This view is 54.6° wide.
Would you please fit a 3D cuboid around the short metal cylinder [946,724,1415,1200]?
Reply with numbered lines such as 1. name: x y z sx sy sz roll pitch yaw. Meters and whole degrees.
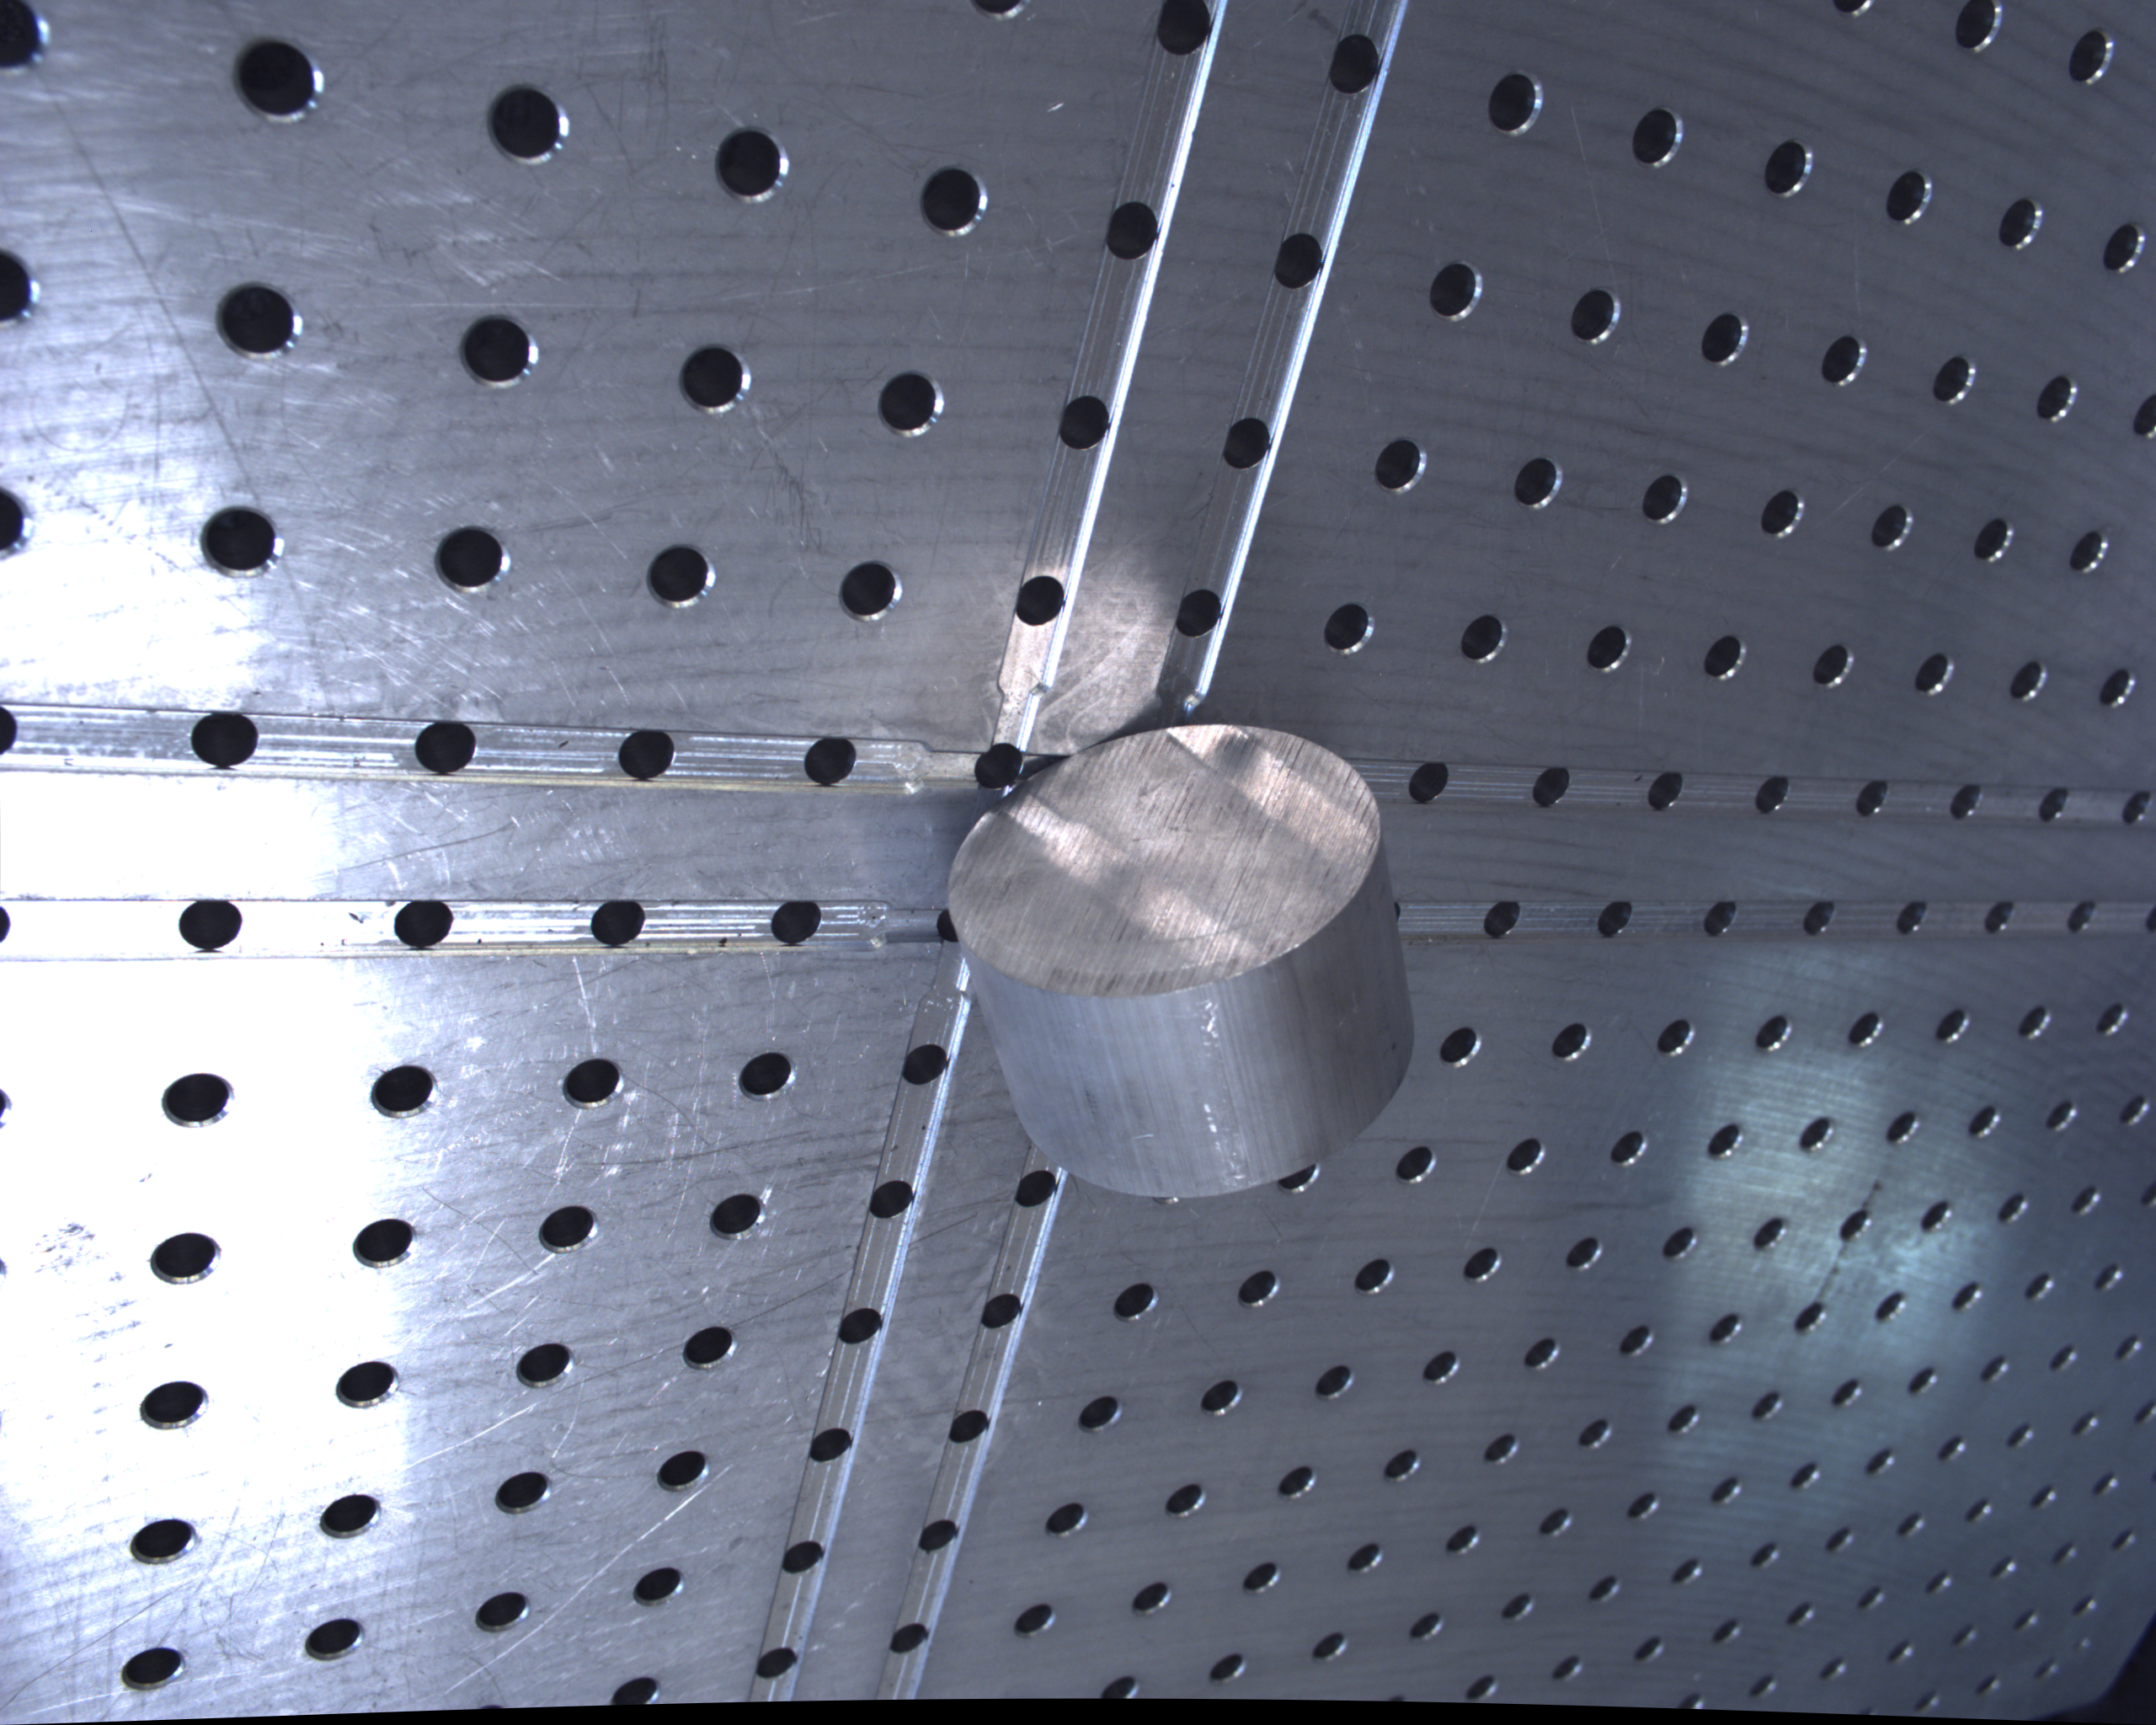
1. short metal cylinder: 0.020 0.017 0.396 0.080 0.080 0.050 -25 127 -13
